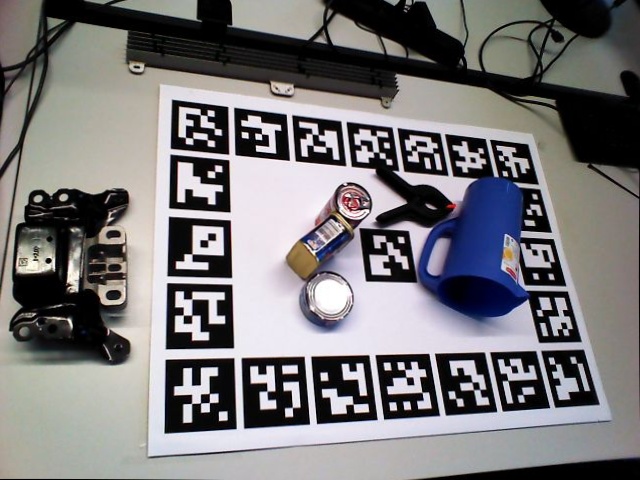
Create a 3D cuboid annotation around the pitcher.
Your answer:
[{"bbox_3d":[0.318,0.023,0.927,0.189,0.134,0.241,13,56,10],"label":"pitcher"}]

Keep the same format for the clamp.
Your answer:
[{"bbox_3d":[0.184,-0.063,0.985,0.165,0.037,0.121,7,63,-21],"label":"clamp"}]

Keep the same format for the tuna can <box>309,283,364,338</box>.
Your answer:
[{"bbox_3d":[0.026,0.116,0.846,0.085,0.034,0.085,6,69,-17],"label":"tuna can"}]

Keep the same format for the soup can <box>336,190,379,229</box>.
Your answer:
[{"bbox_3d":[0.053,-0.033,0.880,0.068,0.102,0.067,5,69,-15],"label":"soup can"}]

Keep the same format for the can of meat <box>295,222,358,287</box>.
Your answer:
[{"bbox_3d":[0.014,0.026,0.837,0.083,0.102,0.058,-35,84,-24],"label":"can of meat"}]
